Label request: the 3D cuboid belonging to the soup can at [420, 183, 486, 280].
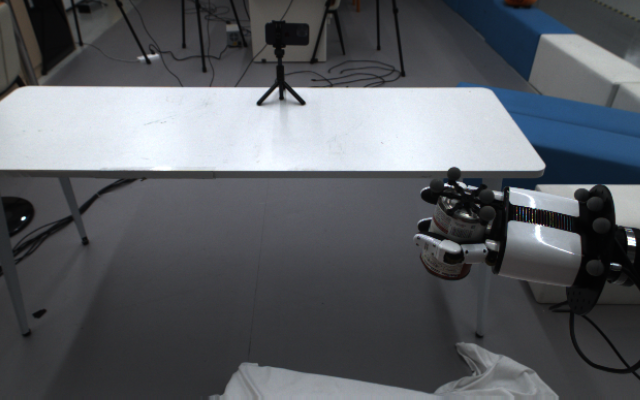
[{"bbox_3d":[0.175,0.043,0.622,0.067,0.101,0.067,5,36,-3],"label":"soup can"}]
